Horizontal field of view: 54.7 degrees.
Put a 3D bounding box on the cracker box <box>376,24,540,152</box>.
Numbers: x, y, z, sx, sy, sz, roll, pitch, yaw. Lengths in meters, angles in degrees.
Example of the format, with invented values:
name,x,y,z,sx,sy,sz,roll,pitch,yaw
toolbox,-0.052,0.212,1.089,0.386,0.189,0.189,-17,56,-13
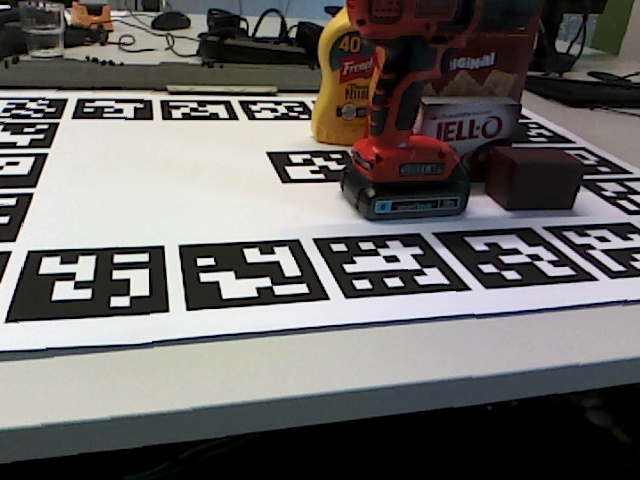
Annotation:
name,x,y,z,sx,sy,sz,roll,pitch,yaw
cracker box,0.150,-0.188,0.690,0.164,0.213,0.072,-6,29,-14

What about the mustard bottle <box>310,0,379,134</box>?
name,x,y,z,sx,sy,sz,roll,pitch,yaw
mustard bottle,0.042,-0.230,0.758,0.096,0.191,0.058,4,30,-2

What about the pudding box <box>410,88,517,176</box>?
name,x,y,z,sx,sy,sz,roll,pitch,yaw
pudding box,0.149,-0.117,0.673,0.113,0.090,0.039,-5,29,-12

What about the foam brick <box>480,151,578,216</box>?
name,x,y,z,sx,sy,sz,roll,pitch,yaw
foam brick,0.217,-0.060,0.649,0.078,0.051,0.053,-1,32,-12

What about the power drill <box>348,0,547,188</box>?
name,x,y,z,sx,sy,sz,roll,pitch,yaw
power drill,0.110,-0.144,0.573,0.184,0.186,0.057,-3,27,-15
